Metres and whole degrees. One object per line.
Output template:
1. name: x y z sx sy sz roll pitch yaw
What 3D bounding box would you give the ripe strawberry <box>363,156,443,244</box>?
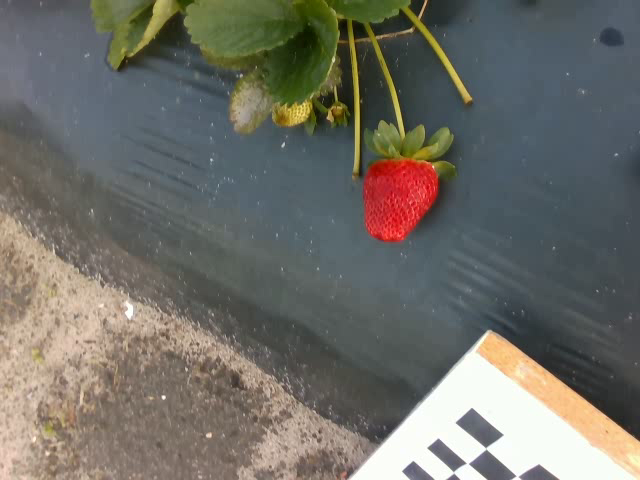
1. ripe strawberry: 0.041 -0.020 0.323 0.042 0.055 0.045 38 -26 -33
